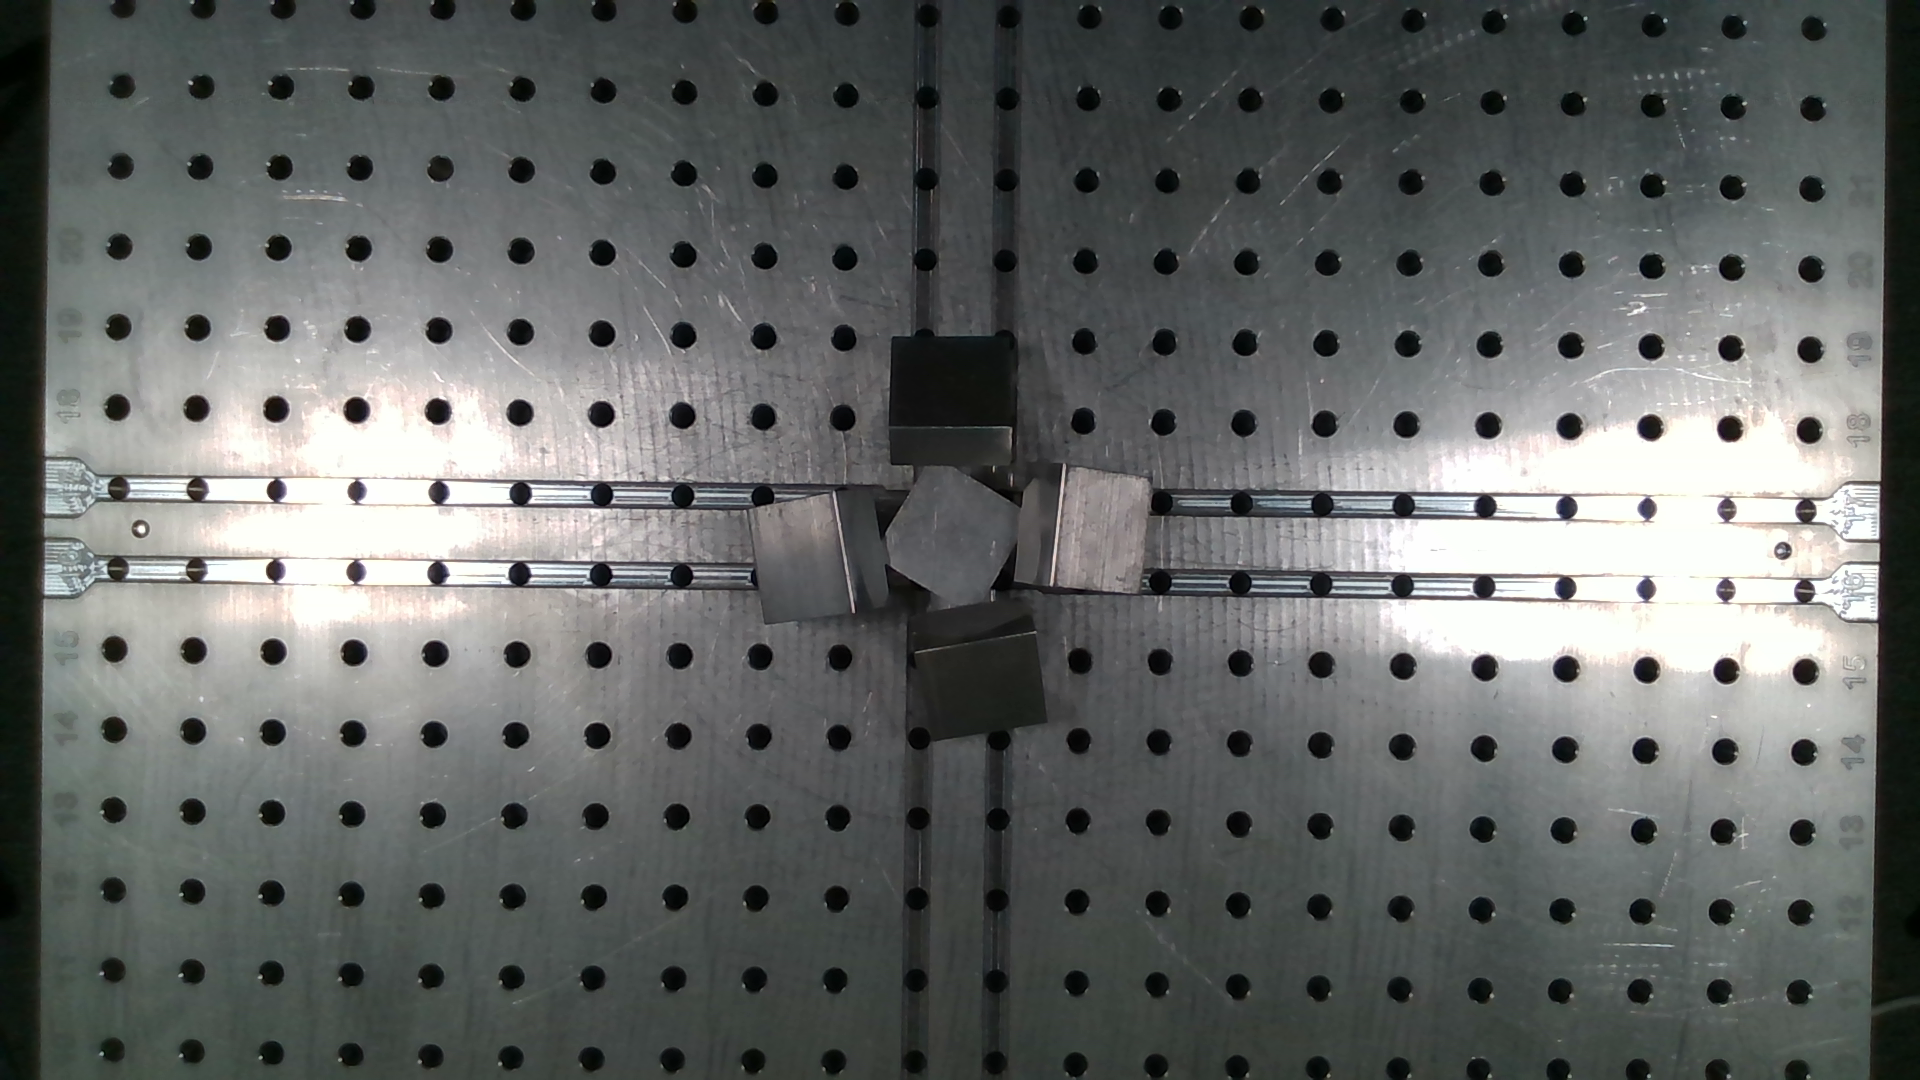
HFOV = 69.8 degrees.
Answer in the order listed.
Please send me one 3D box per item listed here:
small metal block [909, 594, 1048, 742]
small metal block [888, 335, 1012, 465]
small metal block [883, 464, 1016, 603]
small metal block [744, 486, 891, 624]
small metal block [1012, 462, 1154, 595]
[{"bbox_3d":[0.008,0.054,0.578,0.050,0.025,0.050,-10,125,0],"label":"small metal block"},{"bbox_3d":[-0.004,-0.059,0.577,0.050,0.025,0.050,0,56,0],"label":"small metal block"},{"bbox_3d":[-0.003,-0.002,0.589,0.050,0.025,0.050,31,90,0],"label":"small metal block"},{"bbox_3d":[-0.060,0.007,0.577,0.050,0.025,0.050,-9,90,36],"label":"small metal block"},{"bbox_3d":[0.052,-0.005,0.577,0.050,0.025,0.050,6,90,-36],"label":"small metal block"}]
